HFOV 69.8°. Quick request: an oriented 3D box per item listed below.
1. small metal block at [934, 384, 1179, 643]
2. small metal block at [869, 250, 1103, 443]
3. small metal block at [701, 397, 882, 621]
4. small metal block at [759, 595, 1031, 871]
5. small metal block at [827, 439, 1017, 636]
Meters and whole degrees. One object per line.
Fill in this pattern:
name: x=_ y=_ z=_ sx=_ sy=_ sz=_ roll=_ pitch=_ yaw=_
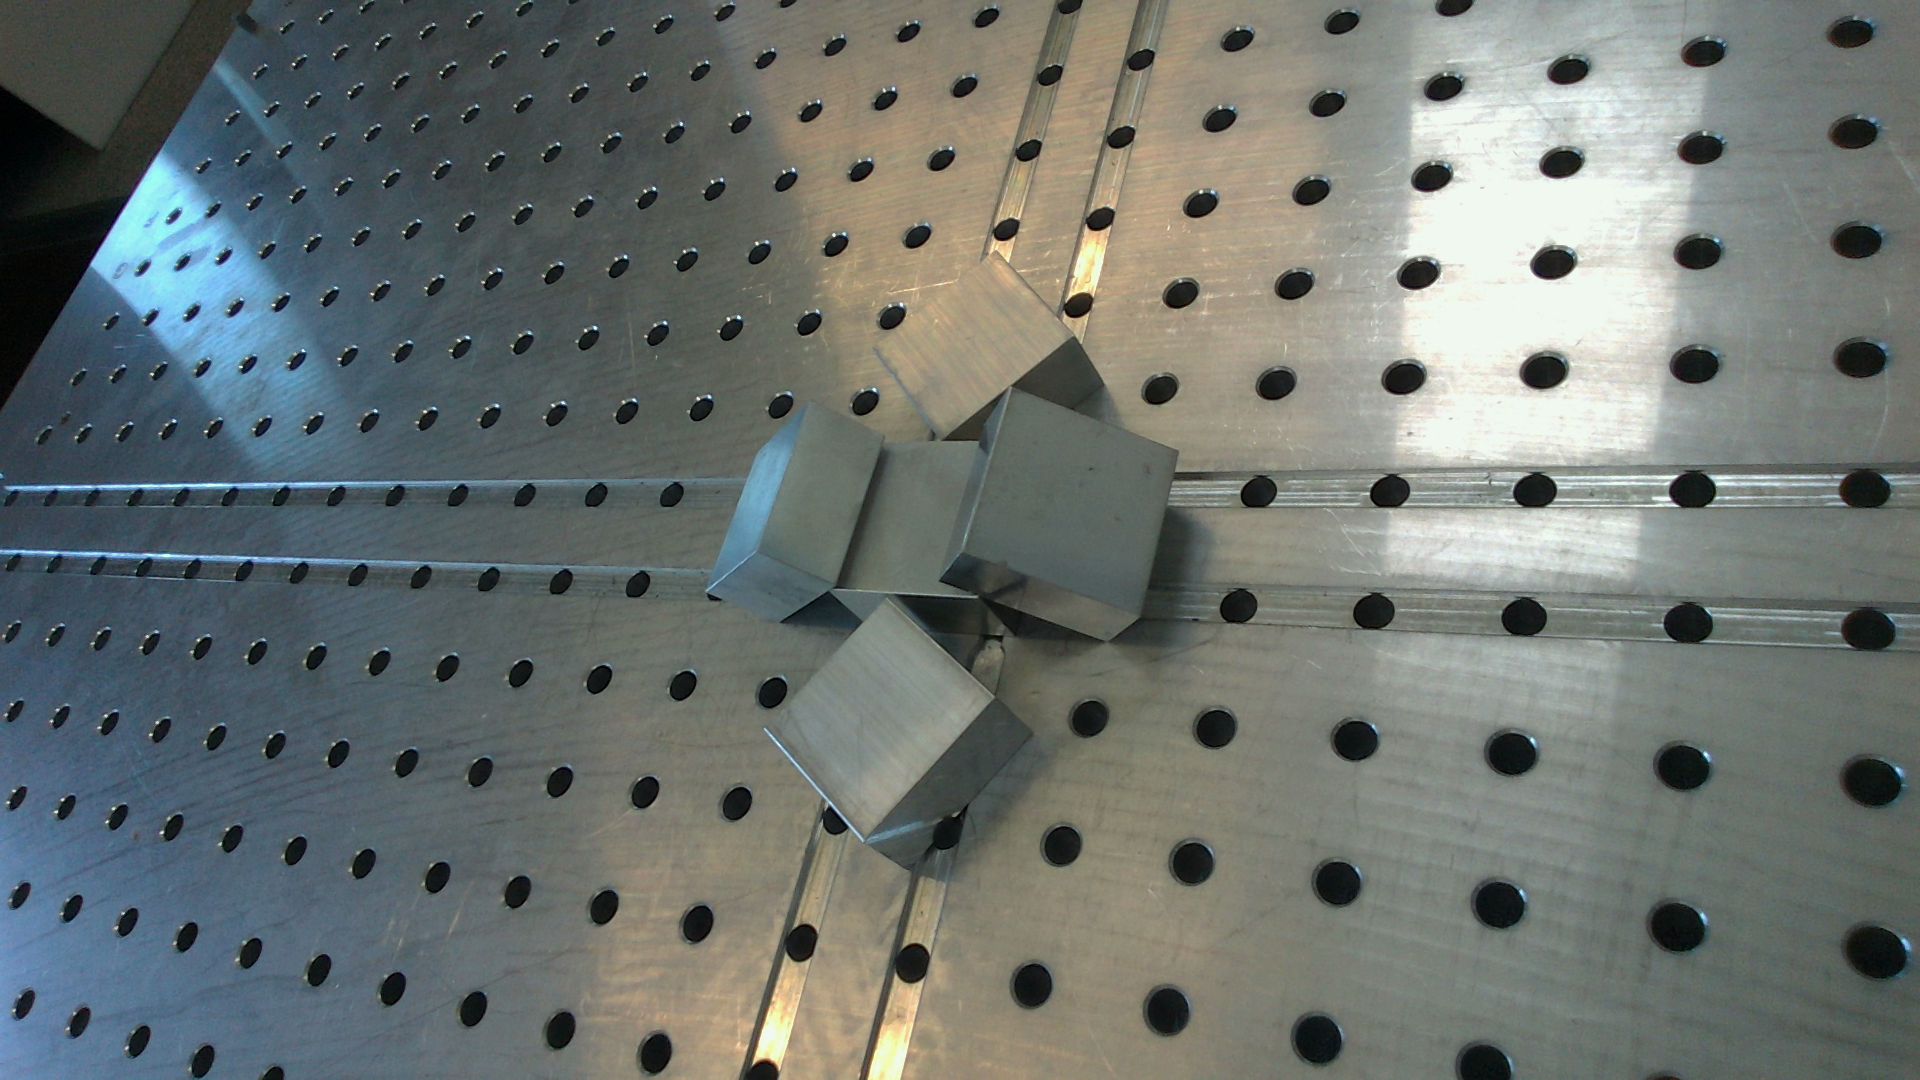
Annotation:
small metal block: x=0.026 y=-0.007 z=0.369 sx=0.050 sy=0.025 sz=0.050 roll=20 pitch=66 yaw=-7
small metal block: x=0.007 y=-0.054 z=0.426 sx=0.050 sy=0.025 sz=0.050 roll=-37 pitch=50 yaw=3
small metal block: x=-0.051 y=-0.008 z=0.413 sx=0.050 sy=0.025 sz=0.050 roll=-29 pitch=40 yaw=59
small metal block: x=-0.018 y=0.052 z=0.374 sx=0.050 sy=0.025 sz=0.050 roll=-47 pitch=49 yaw=-4
small metal block: x=-0.006 y=-0.001 z=0.400 sx=0.050 sy=0.025 sz=0.050 roll=1 pitch=61 yaw=29
